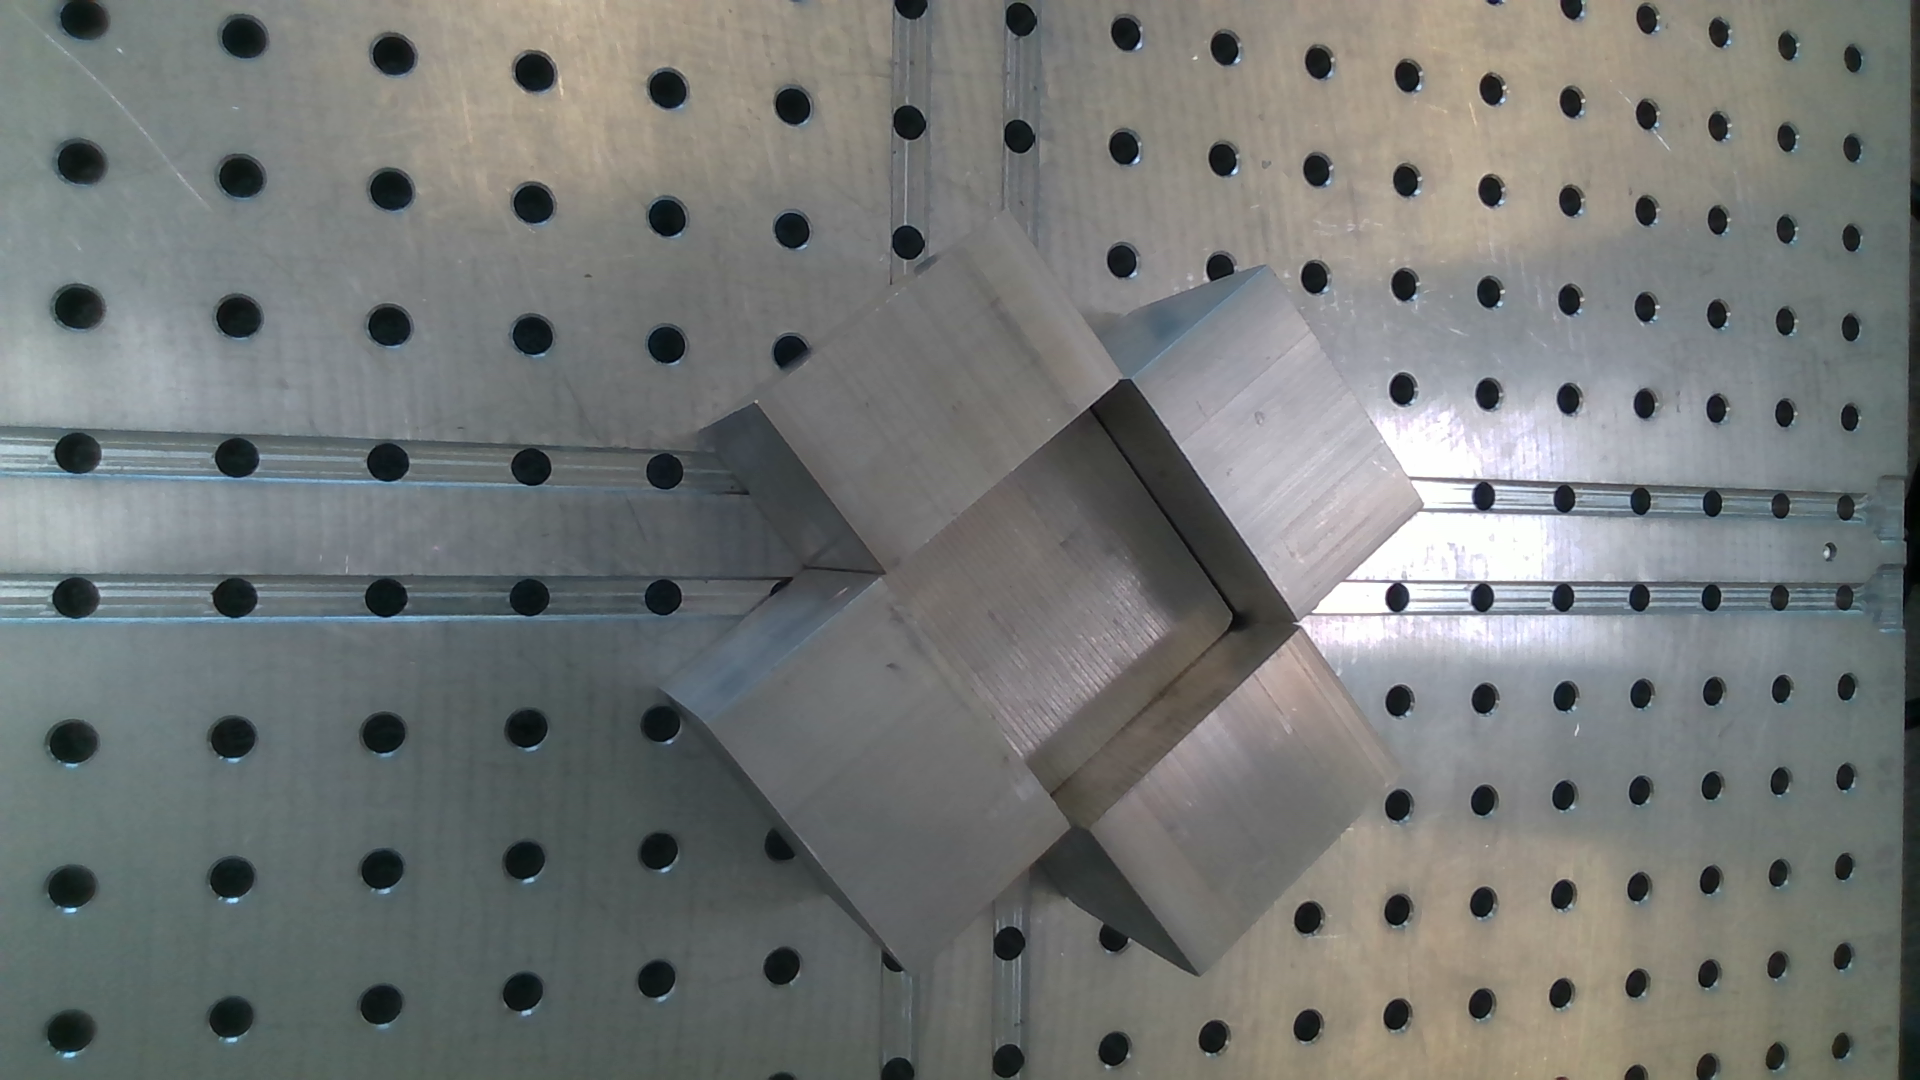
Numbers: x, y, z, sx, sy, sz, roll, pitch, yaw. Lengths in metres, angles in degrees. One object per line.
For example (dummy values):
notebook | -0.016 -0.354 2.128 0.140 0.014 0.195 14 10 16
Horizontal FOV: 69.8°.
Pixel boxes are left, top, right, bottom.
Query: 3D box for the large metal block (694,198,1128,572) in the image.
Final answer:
large metal block | -0.016 -0.037 0.361 0.080 0.080 0.050 -40 103 -15

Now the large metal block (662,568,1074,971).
large metal block | -0.027 0.054 0.358 0.050 0.080 0.080 -39 102 -16

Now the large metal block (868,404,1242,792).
large metal block | 0.017 0.015 0.388 0.080 0.050 0.080 -40 101 -17

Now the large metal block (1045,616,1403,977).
large metal block | 0.061 0.066 0.390 0.080 0.080 0.050 -40 103 -15

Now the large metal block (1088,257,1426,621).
large metal block | 0.070 -0.026 0.393 0.050 0.080 0.080 -41 103 -16
